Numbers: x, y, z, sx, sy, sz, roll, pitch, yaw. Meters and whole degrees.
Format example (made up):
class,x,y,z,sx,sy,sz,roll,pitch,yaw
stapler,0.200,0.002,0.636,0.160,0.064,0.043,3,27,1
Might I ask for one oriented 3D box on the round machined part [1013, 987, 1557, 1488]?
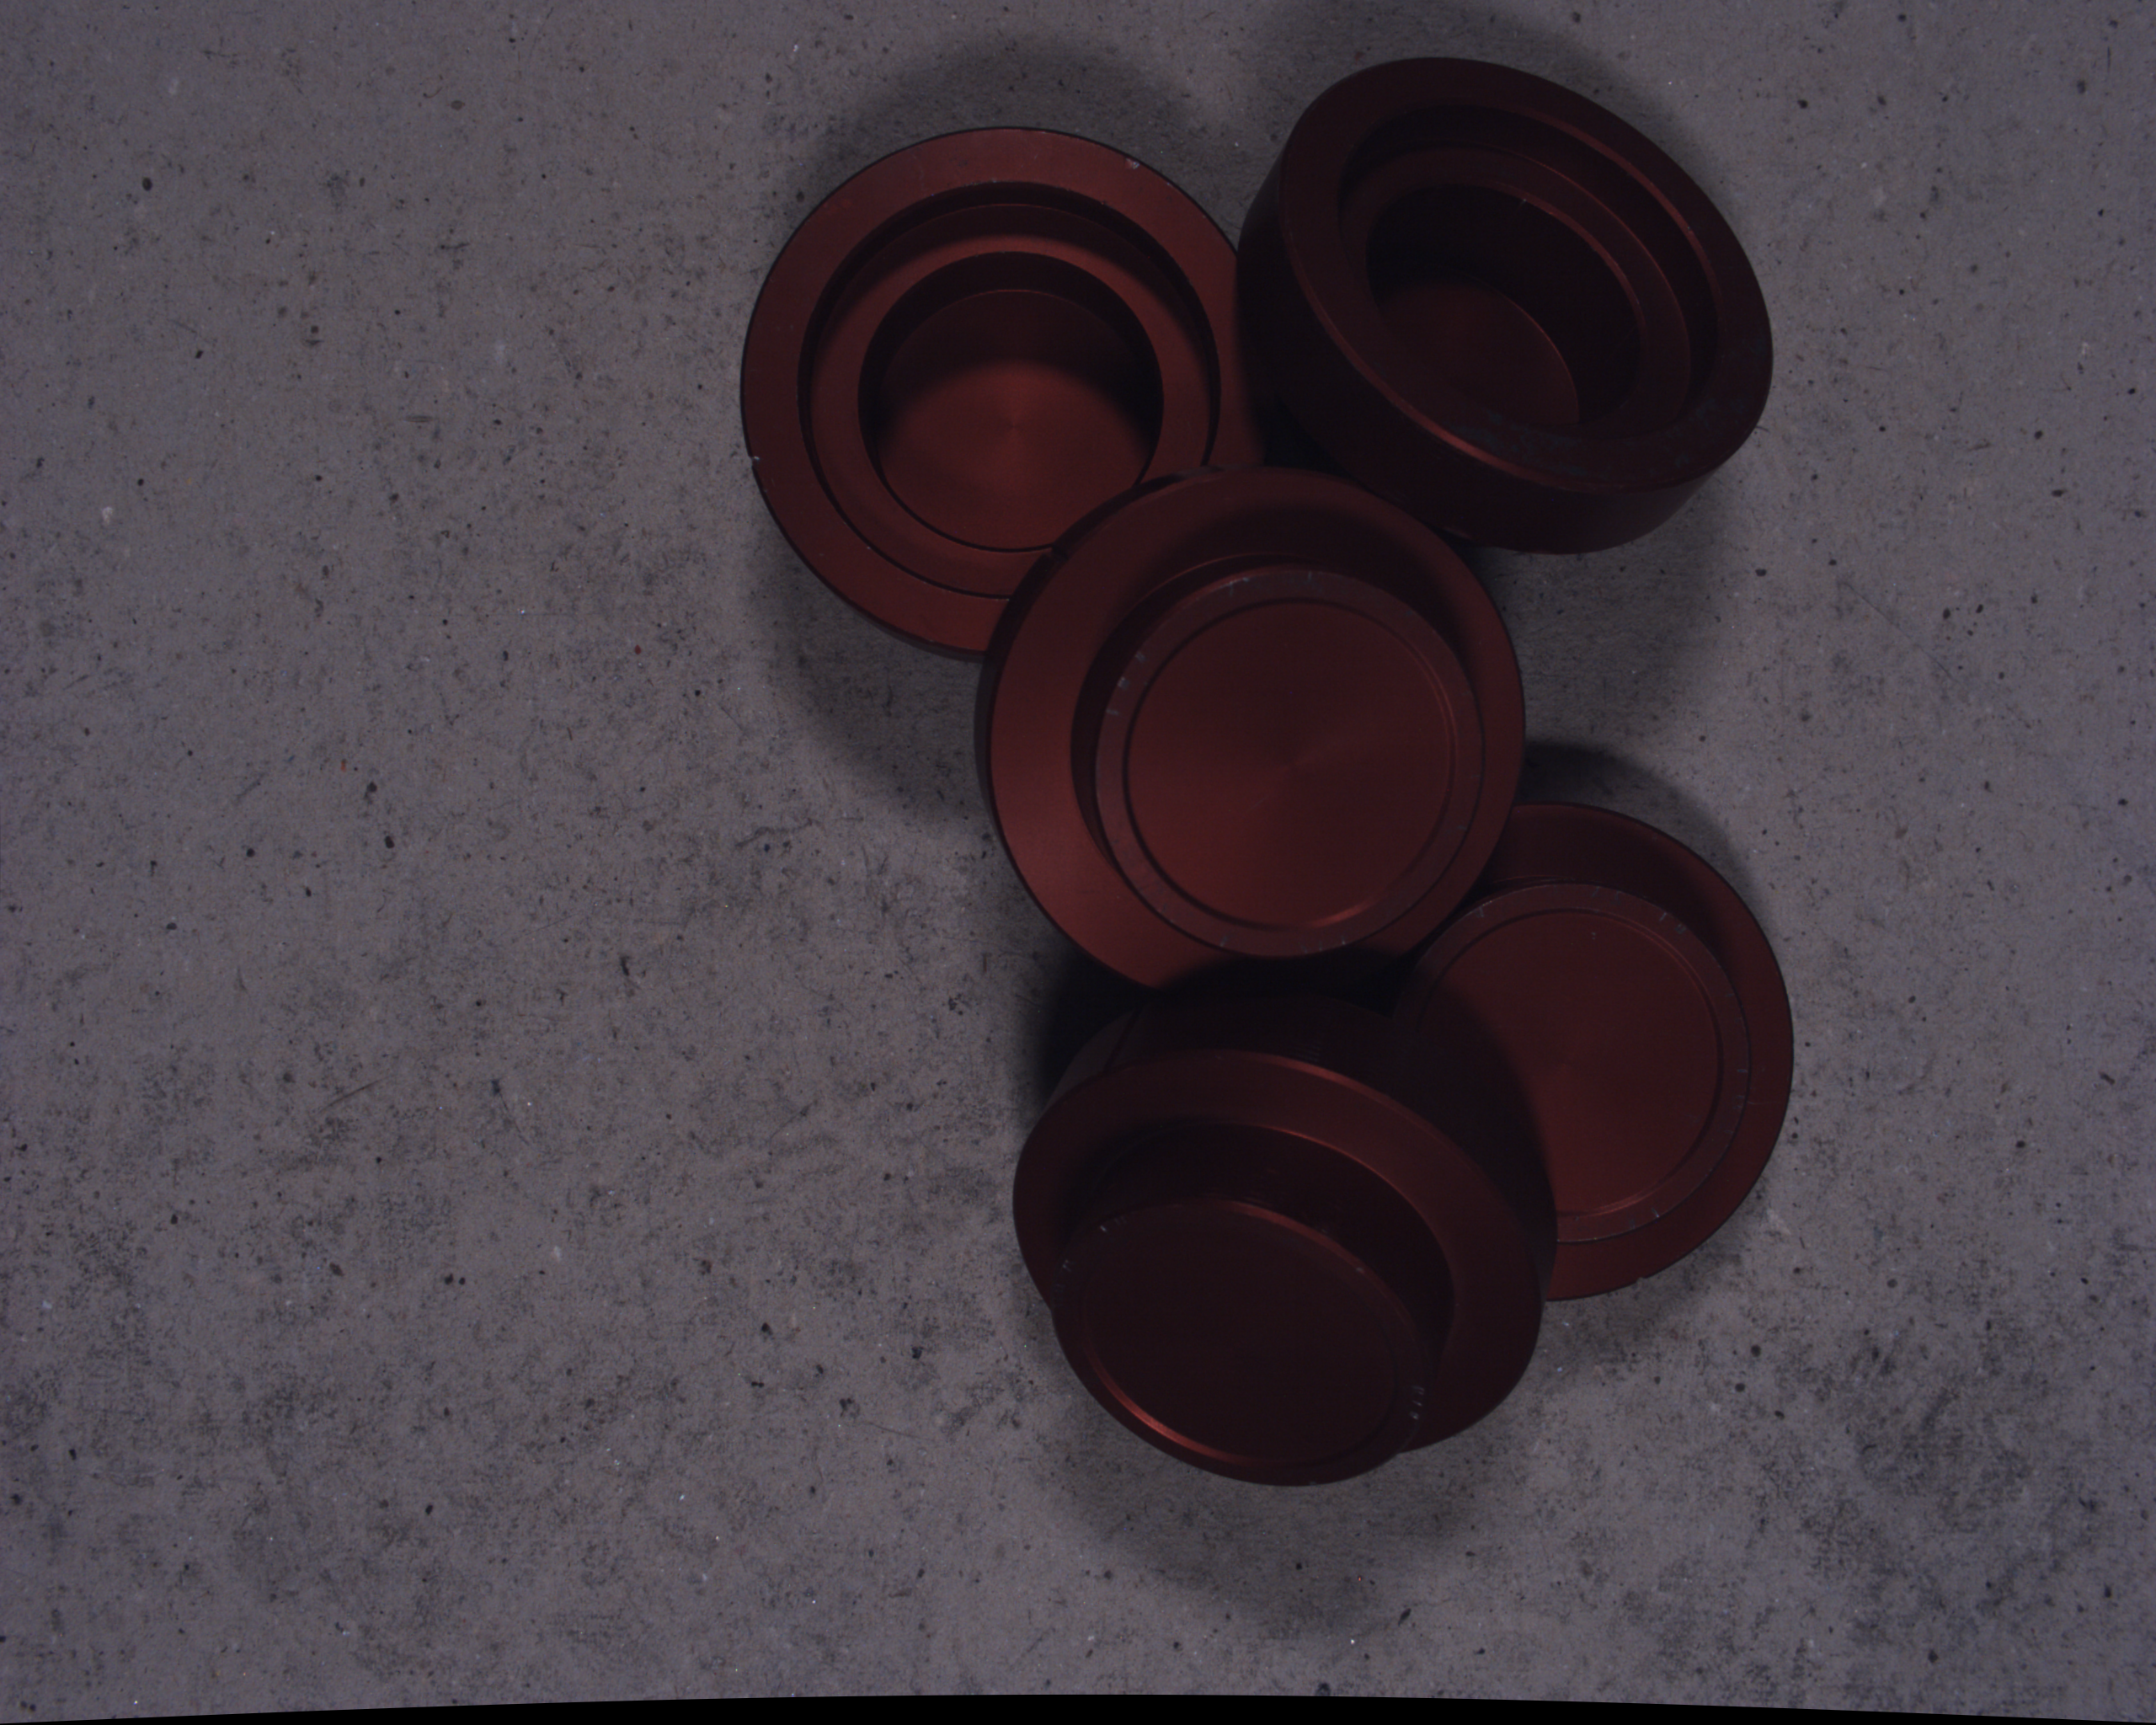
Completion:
class,x,y,z,sx,sy,sz,roll,pitch,yaw
round machined part,0.034,0.074,0.378,0.098,0.042,0.097,11,125,16

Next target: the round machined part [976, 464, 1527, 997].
class,x,y,z,sx,sy,sz,roll,pitch,yaw
round machined part,0.033,-0.021,0.370,0.099,0.042,0.097,-2,101,-8

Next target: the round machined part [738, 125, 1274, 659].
class,x,y,z,sx,sy,sz,roll,pitch,yaw
round machined part,-0.013,-0.087,0.402,0.099,0.042,0.097,0,90,-1

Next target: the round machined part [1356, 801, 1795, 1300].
class,x,y,z,sx,sy,sz,roll,pitch,yaw
round machined part,0.090,0.037,0.404,0.099,0.042,0.097,0,90,-1

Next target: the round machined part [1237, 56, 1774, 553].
class,x,y,z,sx,sy,sz,roll,pitch,yaw
round machined part,0.075,-0.099,0.390,0.099,0.042,0.098,8,63,-16
